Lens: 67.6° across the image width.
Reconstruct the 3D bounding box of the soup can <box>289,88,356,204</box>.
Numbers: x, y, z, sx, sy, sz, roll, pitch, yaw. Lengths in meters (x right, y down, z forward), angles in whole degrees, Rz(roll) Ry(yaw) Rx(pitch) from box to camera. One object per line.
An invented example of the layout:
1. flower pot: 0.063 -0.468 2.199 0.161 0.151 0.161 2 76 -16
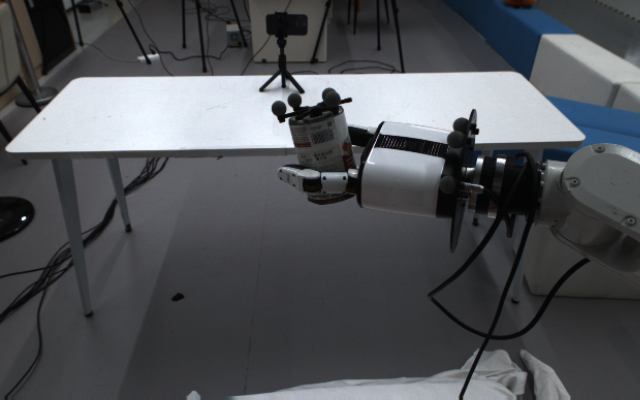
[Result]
1. soup can: 0.009 -0.053 0.574 0.067 0.101 0.067 -13 20 5
